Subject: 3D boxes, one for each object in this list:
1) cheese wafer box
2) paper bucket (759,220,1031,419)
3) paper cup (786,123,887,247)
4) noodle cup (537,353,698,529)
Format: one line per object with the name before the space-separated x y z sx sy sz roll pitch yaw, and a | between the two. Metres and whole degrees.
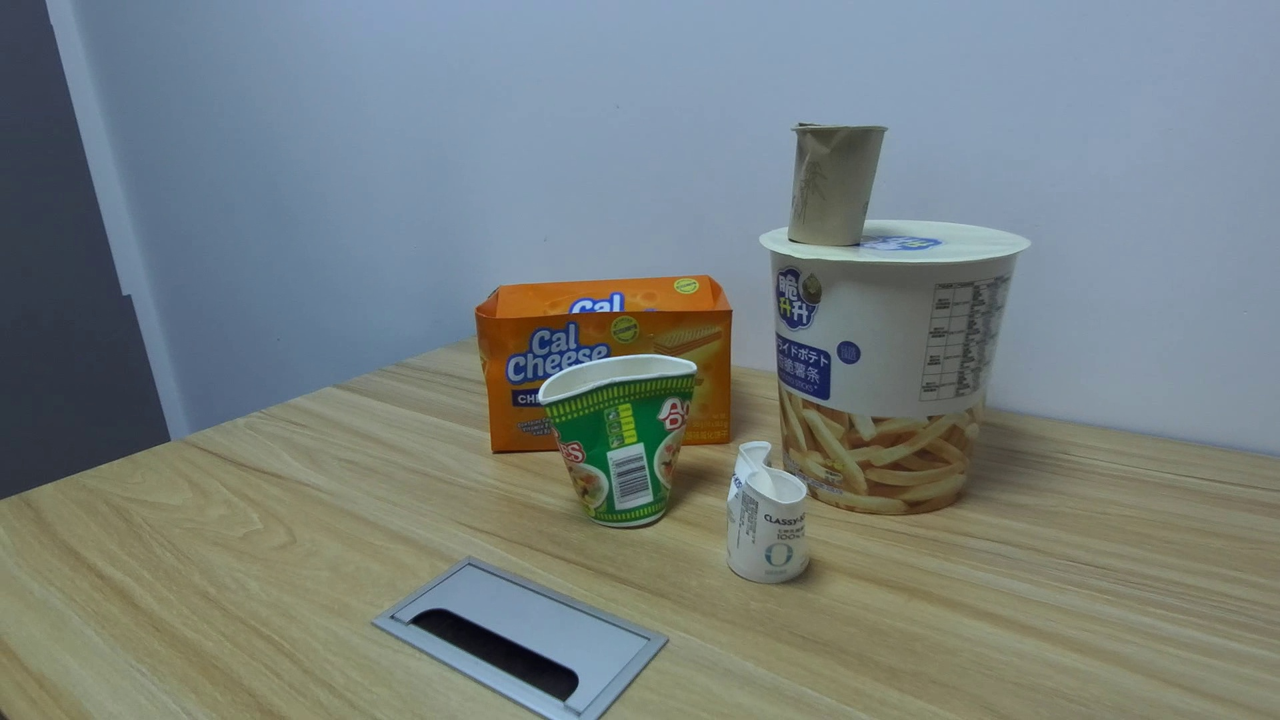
cheese wafer box | -0.032 0.001 0.684 0.230 0.132 0.152 -2 20 -1
paper bucket | 0.186 0.000 0.554 0.198 0.194 0.198 -2 19 1
paper cup | 0.142 -0.127 0.514 0.071 0.084 0.066 3 18 2
noodle cup | -0.011 0.059 0.524 0.115 0.111 0.070 -3 21 -5
